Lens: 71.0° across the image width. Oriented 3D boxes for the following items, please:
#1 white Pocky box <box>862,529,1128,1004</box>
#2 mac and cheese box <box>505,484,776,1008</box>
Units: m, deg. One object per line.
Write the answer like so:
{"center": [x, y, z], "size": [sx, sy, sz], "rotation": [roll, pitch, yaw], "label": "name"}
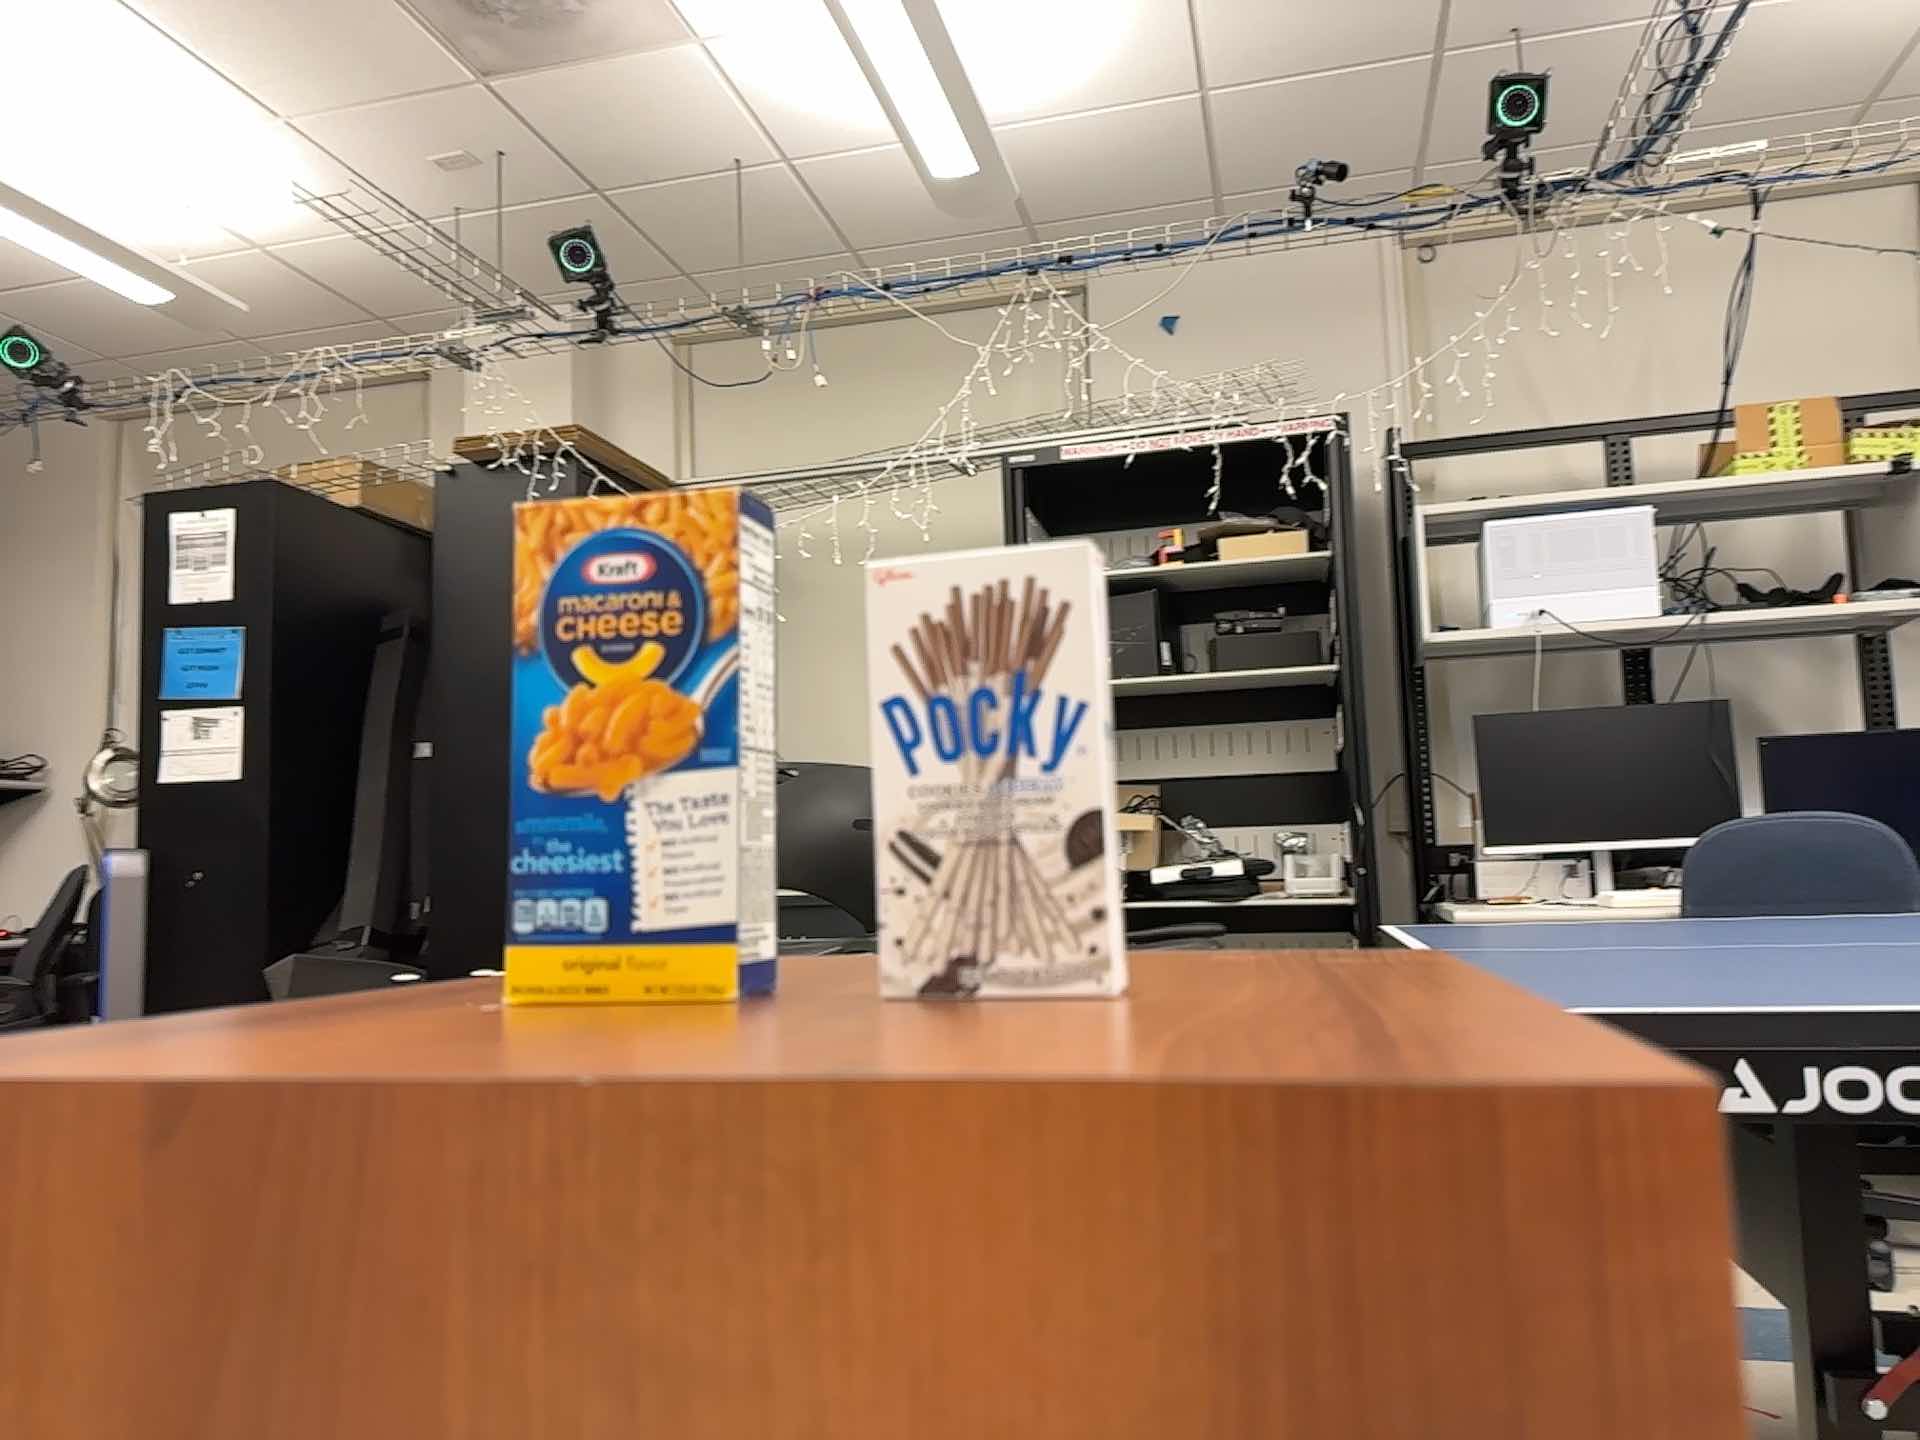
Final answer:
{"center": [0.010, 0.017, 0.455], "size": [0.084, 0.154, 0.028], "rotation": [-5, -8, 20], "label": "white Pocky box"}
{"center": [-0.117, 0.011, 0.496], "size": [0.088, 0.181, 0.035], "rotation": [-5, -9, 17], "label": "mac and cheese box"}
